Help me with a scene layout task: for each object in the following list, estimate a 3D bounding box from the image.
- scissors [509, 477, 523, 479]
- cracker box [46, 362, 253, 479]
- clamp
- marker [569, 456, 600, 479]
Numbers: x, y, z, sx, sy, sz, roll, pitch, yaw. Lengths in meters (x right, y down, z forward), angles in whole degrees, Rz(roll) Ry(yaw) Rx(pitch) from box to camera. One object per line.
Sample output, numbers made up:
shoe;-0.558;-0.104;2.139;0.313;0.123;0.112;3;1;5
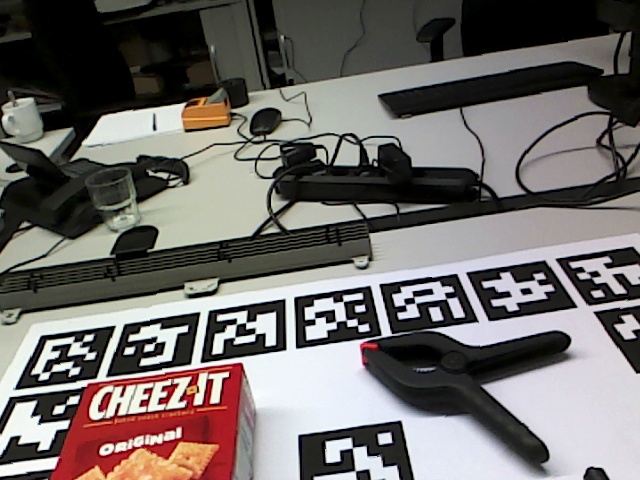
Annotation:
scissors;0.085;0.236;0.485;0.202;0.016;0.088;-22;30;-24
cracker box;-0.153;0.210;0.554;0.164;0.072;0.214;-8;29;3
clamp;0.126;0.140;0.650;0.204;0.036;0.165;8;33;28
marker;0.225;0.216;0.475;0.019;0.019;0.121;-11;29;-1
